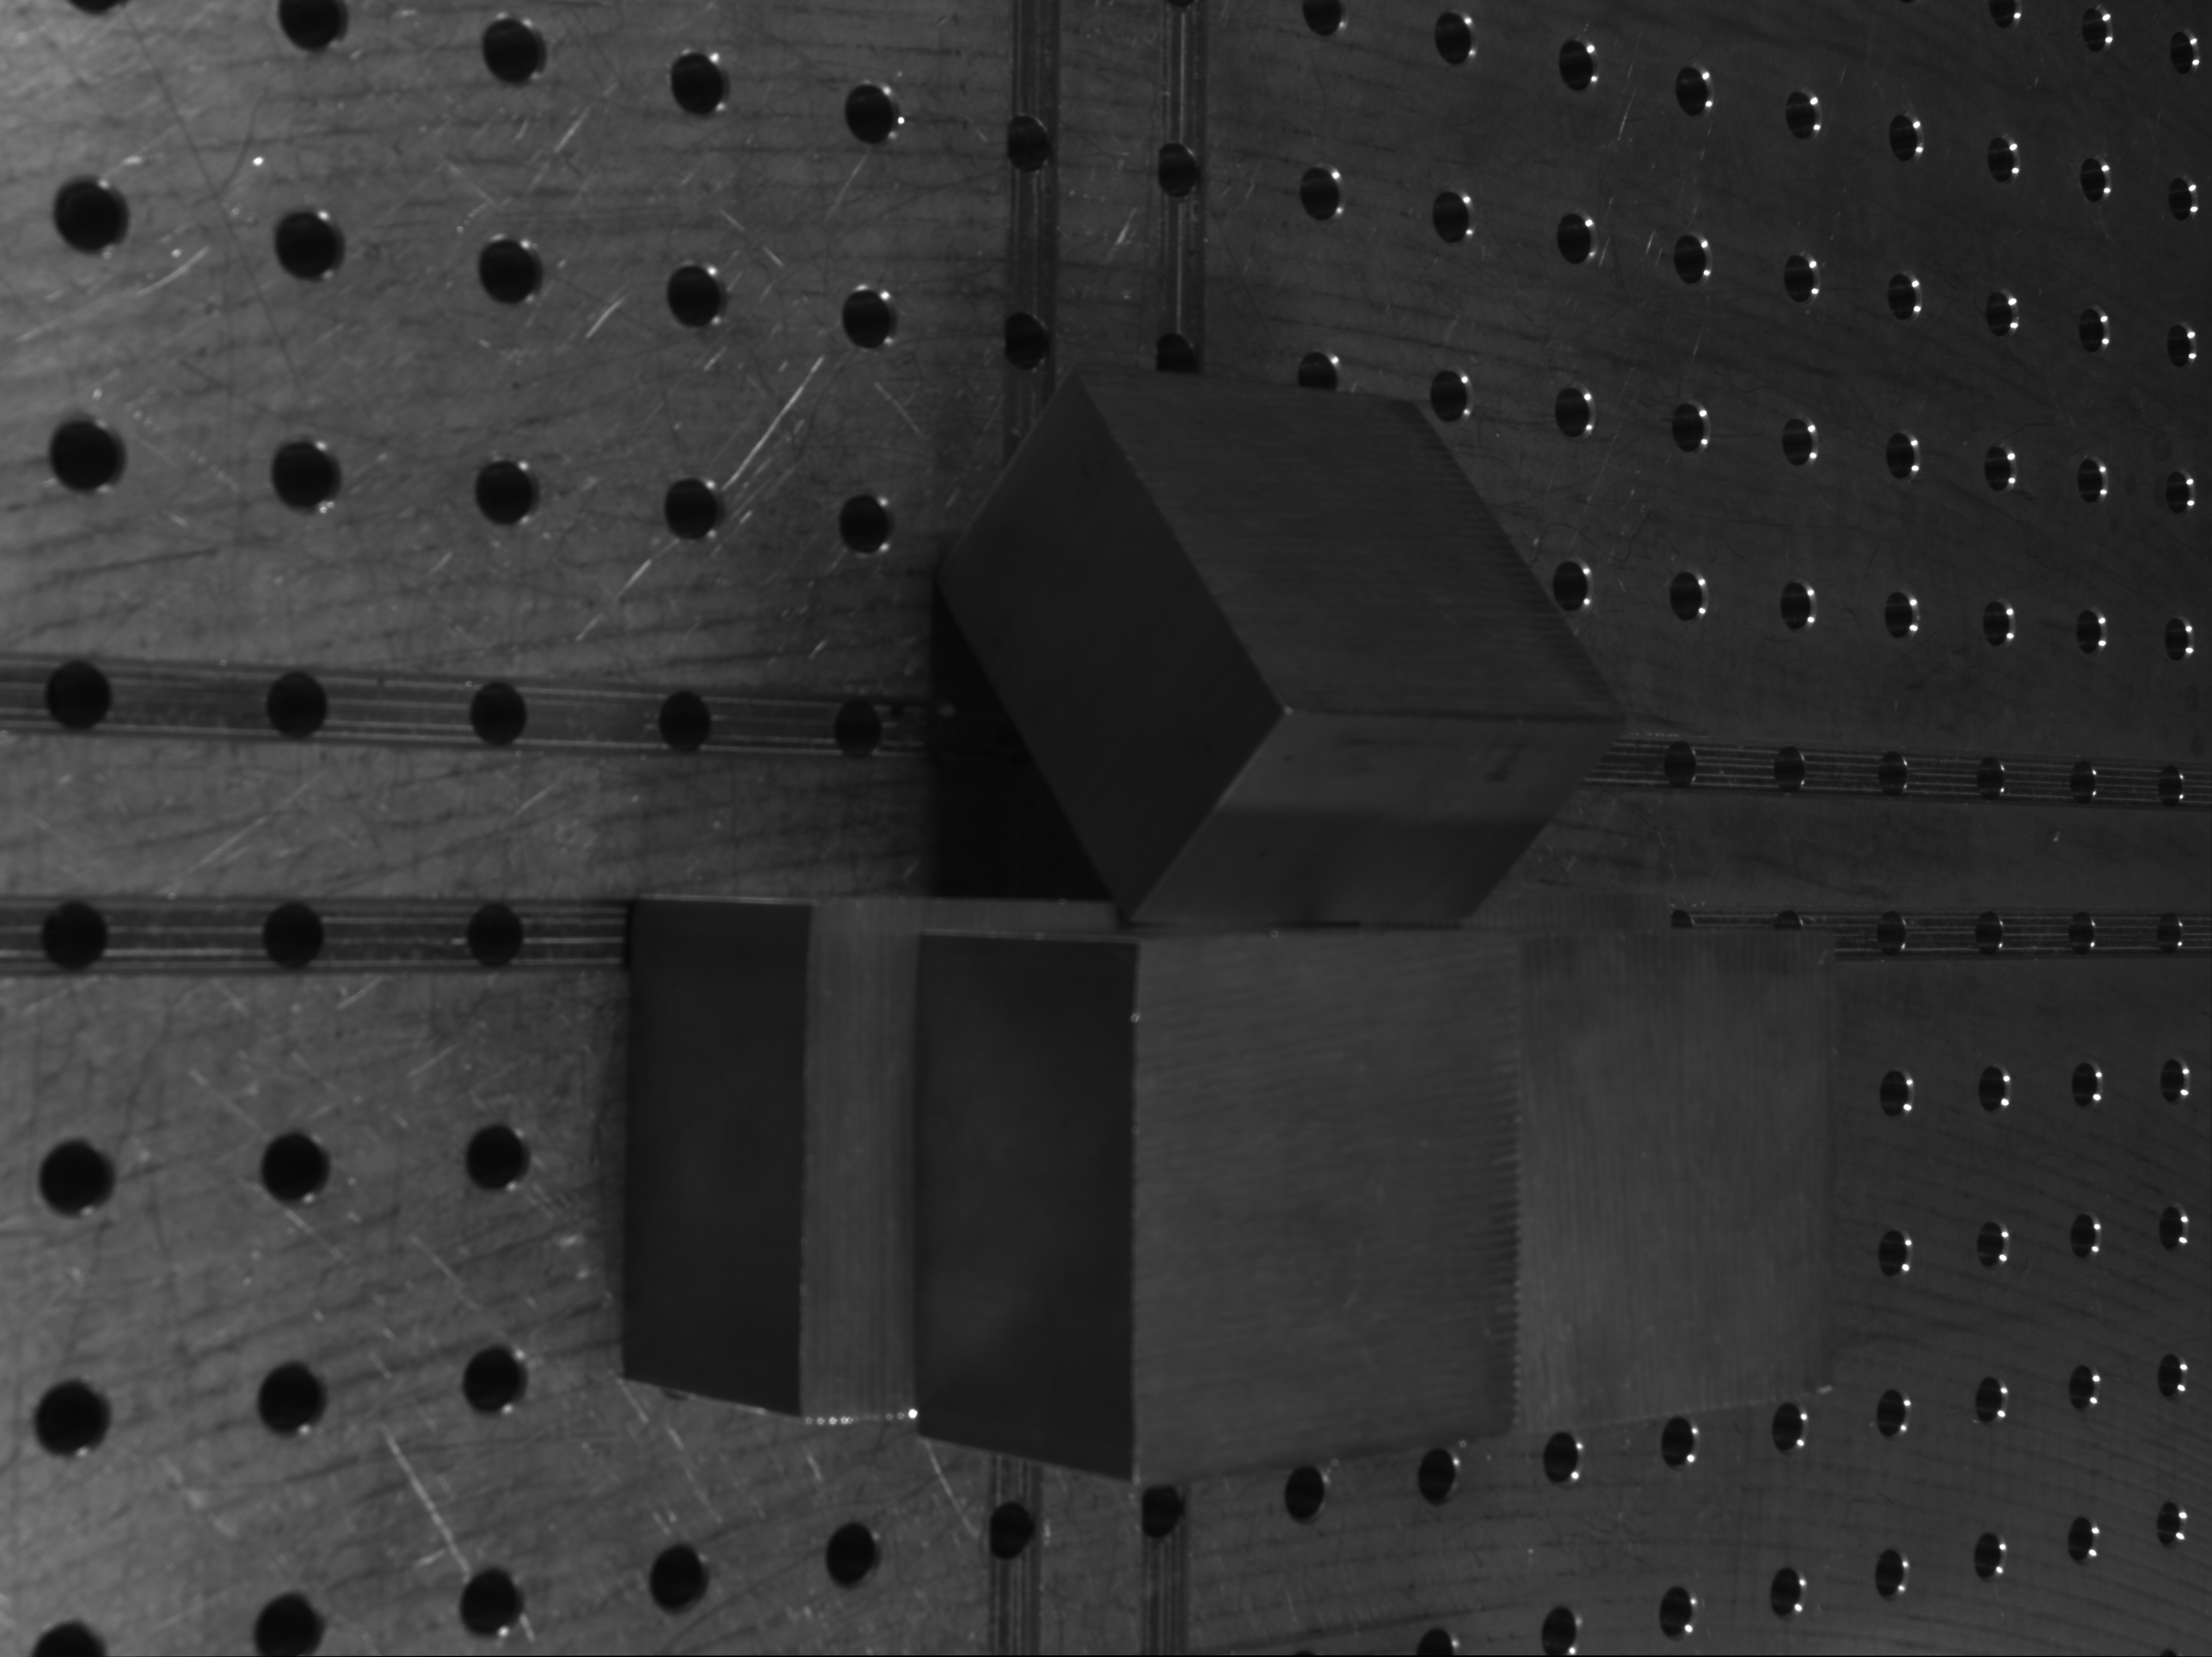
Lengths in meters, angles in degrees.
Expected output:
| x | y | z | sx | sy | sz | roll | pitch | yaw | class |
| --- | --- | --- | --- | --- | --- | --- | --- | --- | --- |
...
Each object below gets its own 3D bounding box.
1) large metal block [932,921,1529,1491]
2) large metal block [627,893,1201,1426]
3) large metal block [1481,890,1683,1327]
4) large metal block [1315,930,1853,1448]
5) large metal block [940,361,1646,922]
| x | y | z | sx | sy | sz | roll | pitch | yaw | class |
| --- | --- | --- | --- | --- | --- | --- | --- | --- | --- |
| 0.020 | 0.055 | 0.572 | 0.080 | 0.050 | 0.080 | 0 | 90 | -40 | large metal block |
| -0.030 | 0.052 | 0.600 | 0.080 | 0.050 | 0.080 | 2 | 89 | -40 | large metal block |
| 0.061 | 0.052 | 0.674 | 0.080 | 0.050 | 0.080 | -1 | 91 | -40 | large metal block |
| 0.082 | 0.058 | 0.625 | 0.080 | 0.050 | 0.080 | 0 | 90 | -40 | large metal block |
| 0.031 | -0.030 | 0.623 | 0.080 | 0.050 | 0.080 | 1 | 48 | -40 | large metal block |
